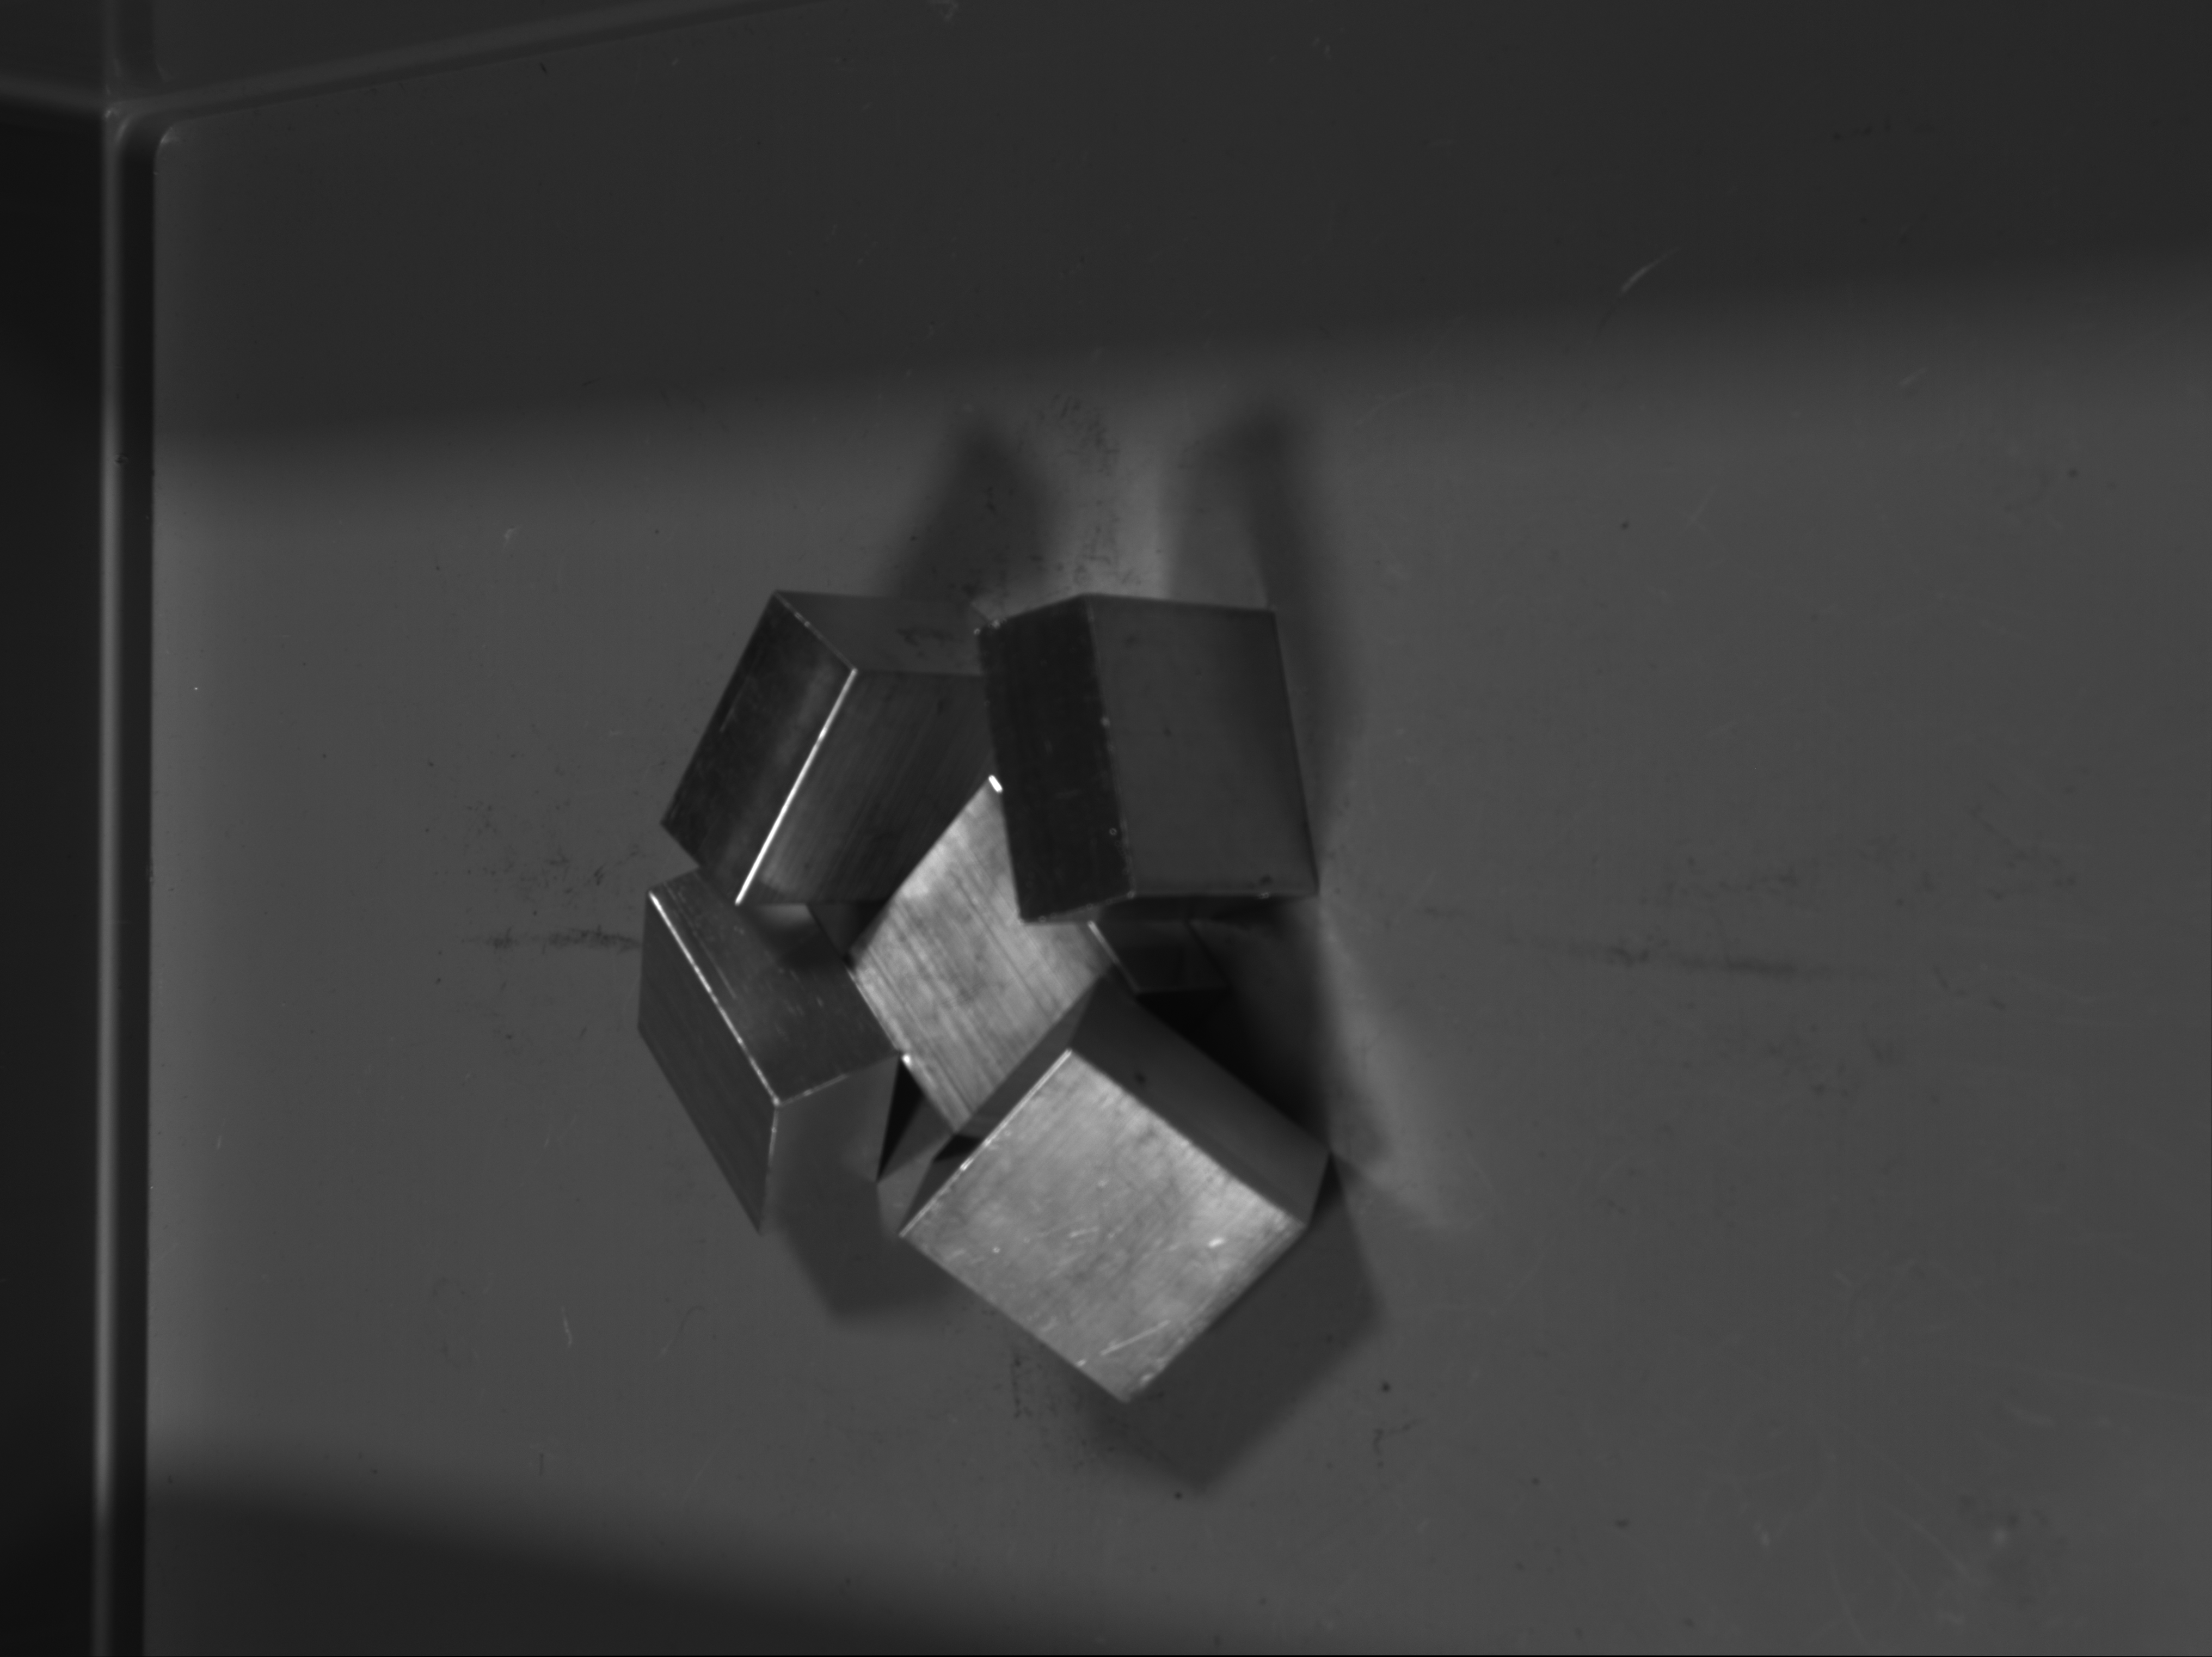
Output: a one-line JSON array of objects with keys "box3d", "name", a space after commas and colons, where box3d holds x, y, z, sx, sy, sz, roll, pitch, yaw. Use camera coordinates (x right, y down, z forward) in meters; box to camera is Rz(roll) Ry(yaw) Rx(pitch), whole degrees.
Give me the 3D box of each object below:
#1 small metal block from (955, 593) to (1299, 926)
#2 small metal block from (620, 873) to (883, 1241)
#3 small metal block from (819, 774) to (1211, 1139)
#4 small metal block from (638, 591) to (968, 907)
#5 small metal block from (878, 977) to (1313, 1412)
[{"box3d": [0.004, -0.011, 0.615, 0.025, 0.050, 0.050, -14, 81, 37], "name": "small metal block"}, {"box3d": [-0.066, 0.039, 0.674, 0.050, 0.025, 0.050, 56, 155, 25], "name": "small metal block"}, {"box3d": [-0.017, 0.026, 0.648, 0.050, 0.025, 0.050, -49, 61, 28], "name": "small metal block"}, {"box3d": [-0.048, -0.014, 0.658, 0.025, 0.050, 0.050, 44, 116, 31], "name": "small metal block"}, {"box3d": [-0.002, 0.062, 0.619, 0.050, 0.025, 0.050, 38, 118, -7], "name": "small metal block"}]
